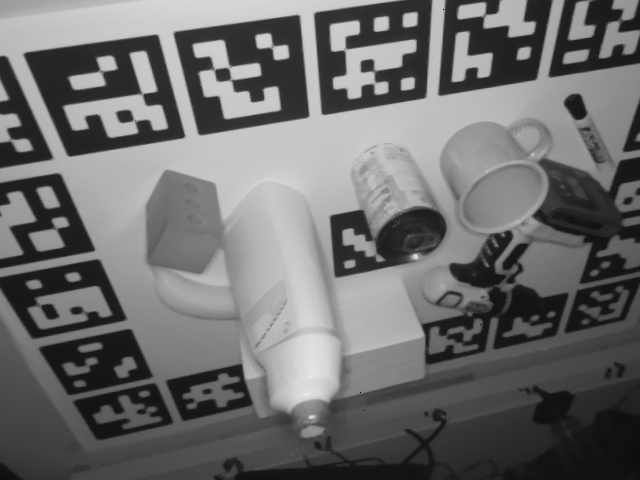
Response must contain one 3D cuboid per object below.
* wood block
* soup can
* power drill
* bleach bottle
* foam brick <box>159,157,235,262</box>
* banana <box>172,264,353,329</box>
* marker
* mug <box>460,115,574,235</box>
[{"bbox_3d":[0.029,0.128,0.806,0.207,0.091,0.089,-11,132,-6],"label":"wood block"},{"bbox_3d":[0.091,-0.041,0.656,0.068,0.102,0.067,-7,136,-6],"label":"soup can"},{"bbox_3d":[0.249,0.013,0.793,0.186,0.057,0.184,14,127,-22],"label":"power drill"},{"bbox_3d":[-0.016,0.049,0.613,0.068,0.251,0.101,13,128,-25],"label":"bleach bottle"},{"bbox_3d":[-0.113,-0.028,0.638,0.053,0.078,0.050,16,127,-29],"label":"foam brick"},{"bbox_3d":[-0.061,0.063,0.753,0.199,0.039,0.073,3,116,-15],"label":"banana"},{"bbox_3d":[0.302,-0.119,0.713,0.019,0.020,0.121,-35,130,13],"label":"marker"},{"bbox_3d":[0.195,-0.073,0.677,0.094,0.082,0.116,28,116,-31],"label":"mug"}]
